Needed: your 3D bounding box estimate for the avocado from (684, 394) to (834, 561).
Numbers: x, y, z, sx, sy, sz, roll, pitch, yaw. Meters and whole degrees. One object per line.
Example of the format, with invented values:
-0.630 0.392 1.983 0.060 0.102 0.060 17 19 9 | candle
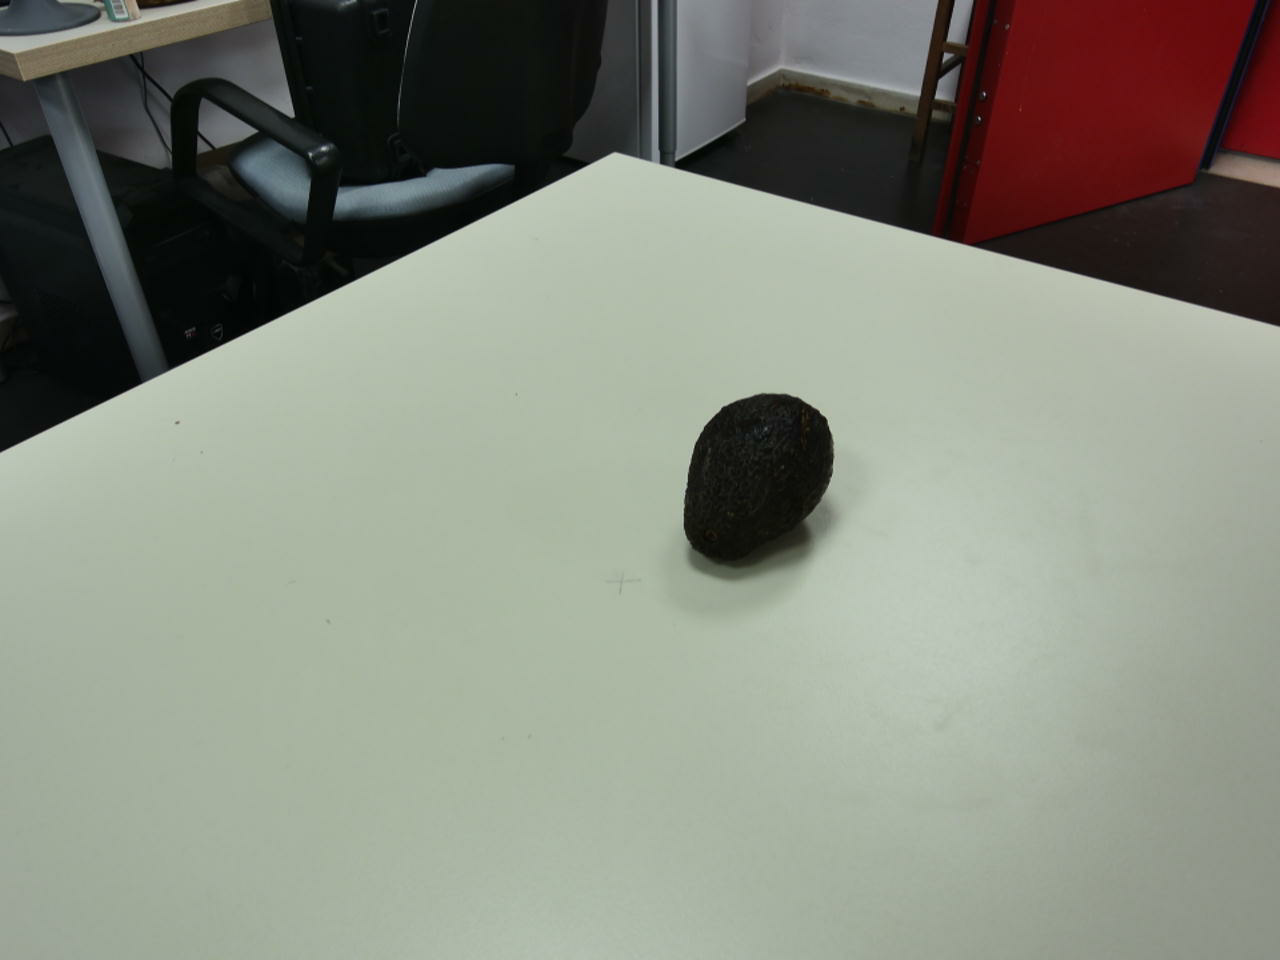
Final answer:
0.057 -0.006 0.510 0.090 0.069 0.070 -18 40 -21 | avocado
